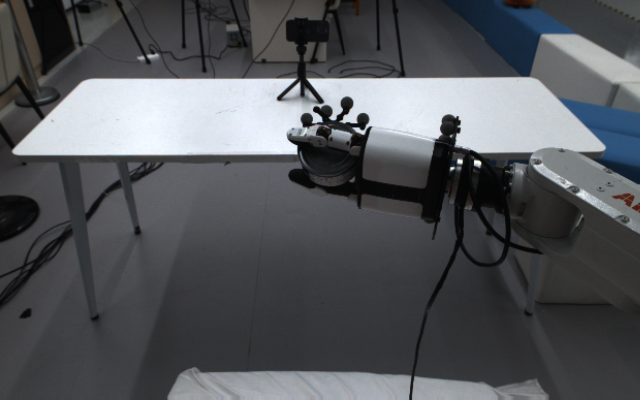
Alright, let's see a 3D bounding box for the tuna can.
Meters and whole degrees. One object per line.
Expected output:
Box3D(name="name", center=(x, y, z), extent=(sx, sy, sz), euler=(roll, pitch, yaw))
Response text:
Box3D(name="tuna can", center=(0.016, -0.062, 0.654), extent=(0.085, 0.034, 0.085), euler=(-4, 61, 7))
